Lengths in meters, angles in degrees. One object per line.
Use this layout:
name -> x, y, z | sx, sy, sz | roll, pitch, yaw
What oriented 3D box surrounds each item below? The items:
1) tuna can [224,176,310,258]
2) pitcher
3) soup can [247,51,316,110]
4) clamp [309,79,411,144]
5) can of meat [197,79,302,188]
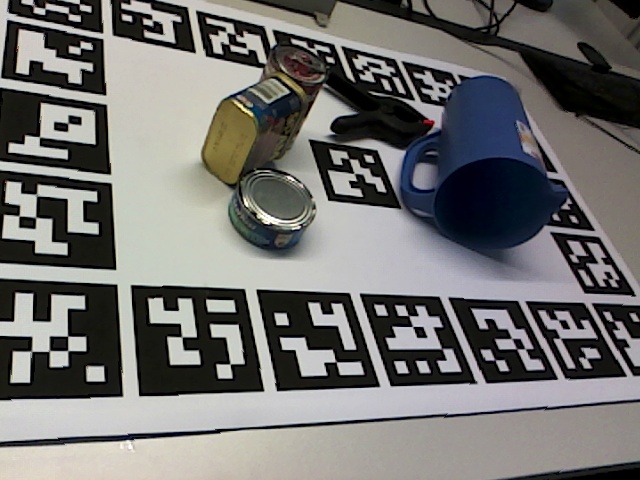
tuna can -> -0.056, -0.024, 0.648 | 0.085, 0.034, 0.086 | 16, 47, -18
pitcher -> 0.204, -0.113, 0.802 | 0.189, 0.133, 0.243 | 5, 38, 3
soup can -> -0.054, -0.160, 0.725 | 0.067, 0.102, 0.068 | 14, 49, -17
clamp -> 0.054, -0.170, 0.857 | 0.164, 0.036, 0.122 | 8, 44, -28
can of meat -> -0.077, -0.111, 0.661 | 0.058, 0.102, 0.083 | 44, 48, 10
